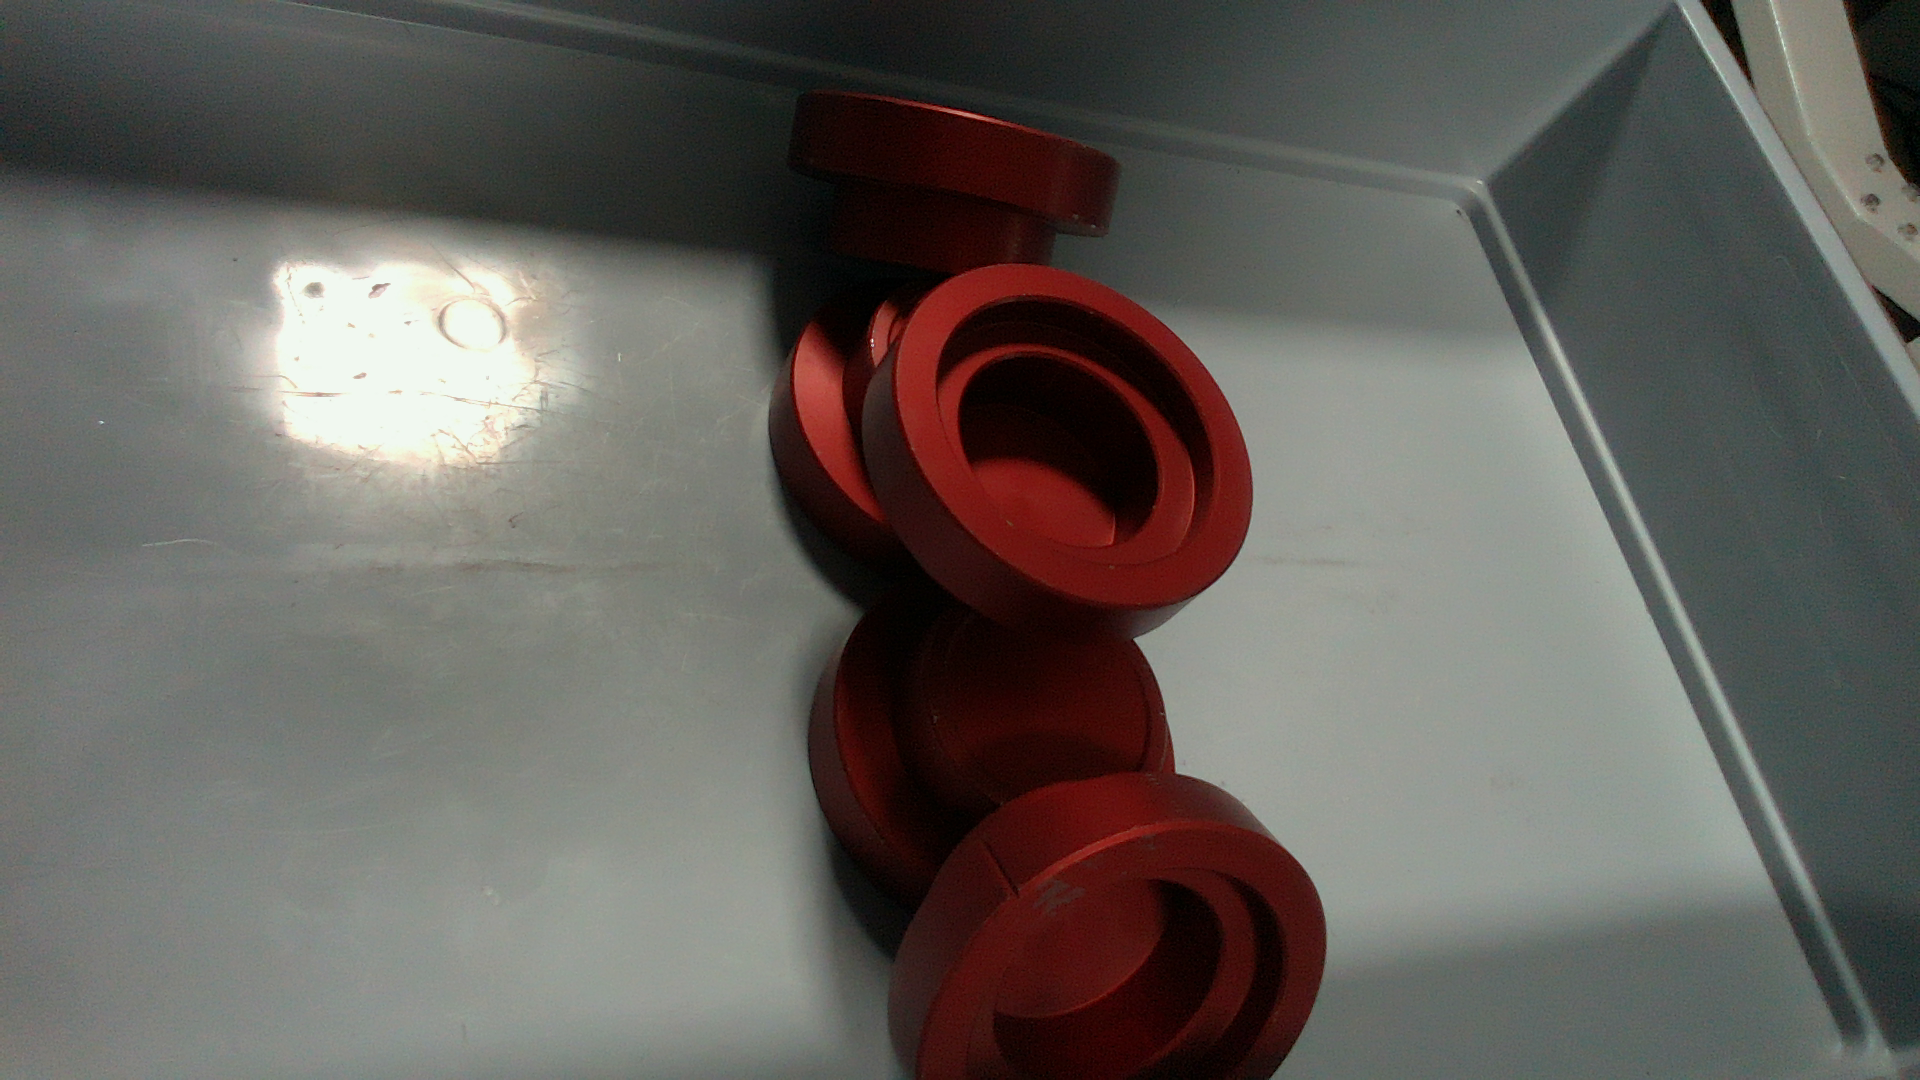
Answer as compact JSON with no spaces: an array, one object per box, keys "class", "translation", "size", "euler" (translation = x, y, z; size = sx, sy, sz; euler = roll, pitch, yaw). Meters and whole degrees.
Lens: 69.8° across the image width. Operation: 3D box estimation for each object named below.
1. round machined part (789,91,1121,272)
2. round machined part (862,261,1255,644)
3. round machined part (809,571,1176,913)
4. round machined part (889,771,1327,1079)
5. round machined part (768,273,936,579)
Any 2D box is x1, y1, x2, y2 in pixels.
[{"class":"round machined part","translation":[-0.004,-0.102,0.414],"size":[0.098,0.098,0.042],"euler":[7,101,-25]},{"class":"round machined part","translation":[0.021,-0.018,0.344],"size":[0.098,0.042,0.098],"euler":[14,56,-21]},{"class":"round machined part","translation":[0.014,0.049,0.354],"size":[0.098,0.042,0.098],"euler":[14,56,-21]},{"class":"round machined part","translation":[0.030,0.094,0.313],"size":[0.098,0.098,0.042],"euler":[6,21,-25]},{"class":"round machined part","translation":[-0.002,-0.038,0.398],"size":[0.098,0.042,0.098],"euler":[14,56,-21]}]
